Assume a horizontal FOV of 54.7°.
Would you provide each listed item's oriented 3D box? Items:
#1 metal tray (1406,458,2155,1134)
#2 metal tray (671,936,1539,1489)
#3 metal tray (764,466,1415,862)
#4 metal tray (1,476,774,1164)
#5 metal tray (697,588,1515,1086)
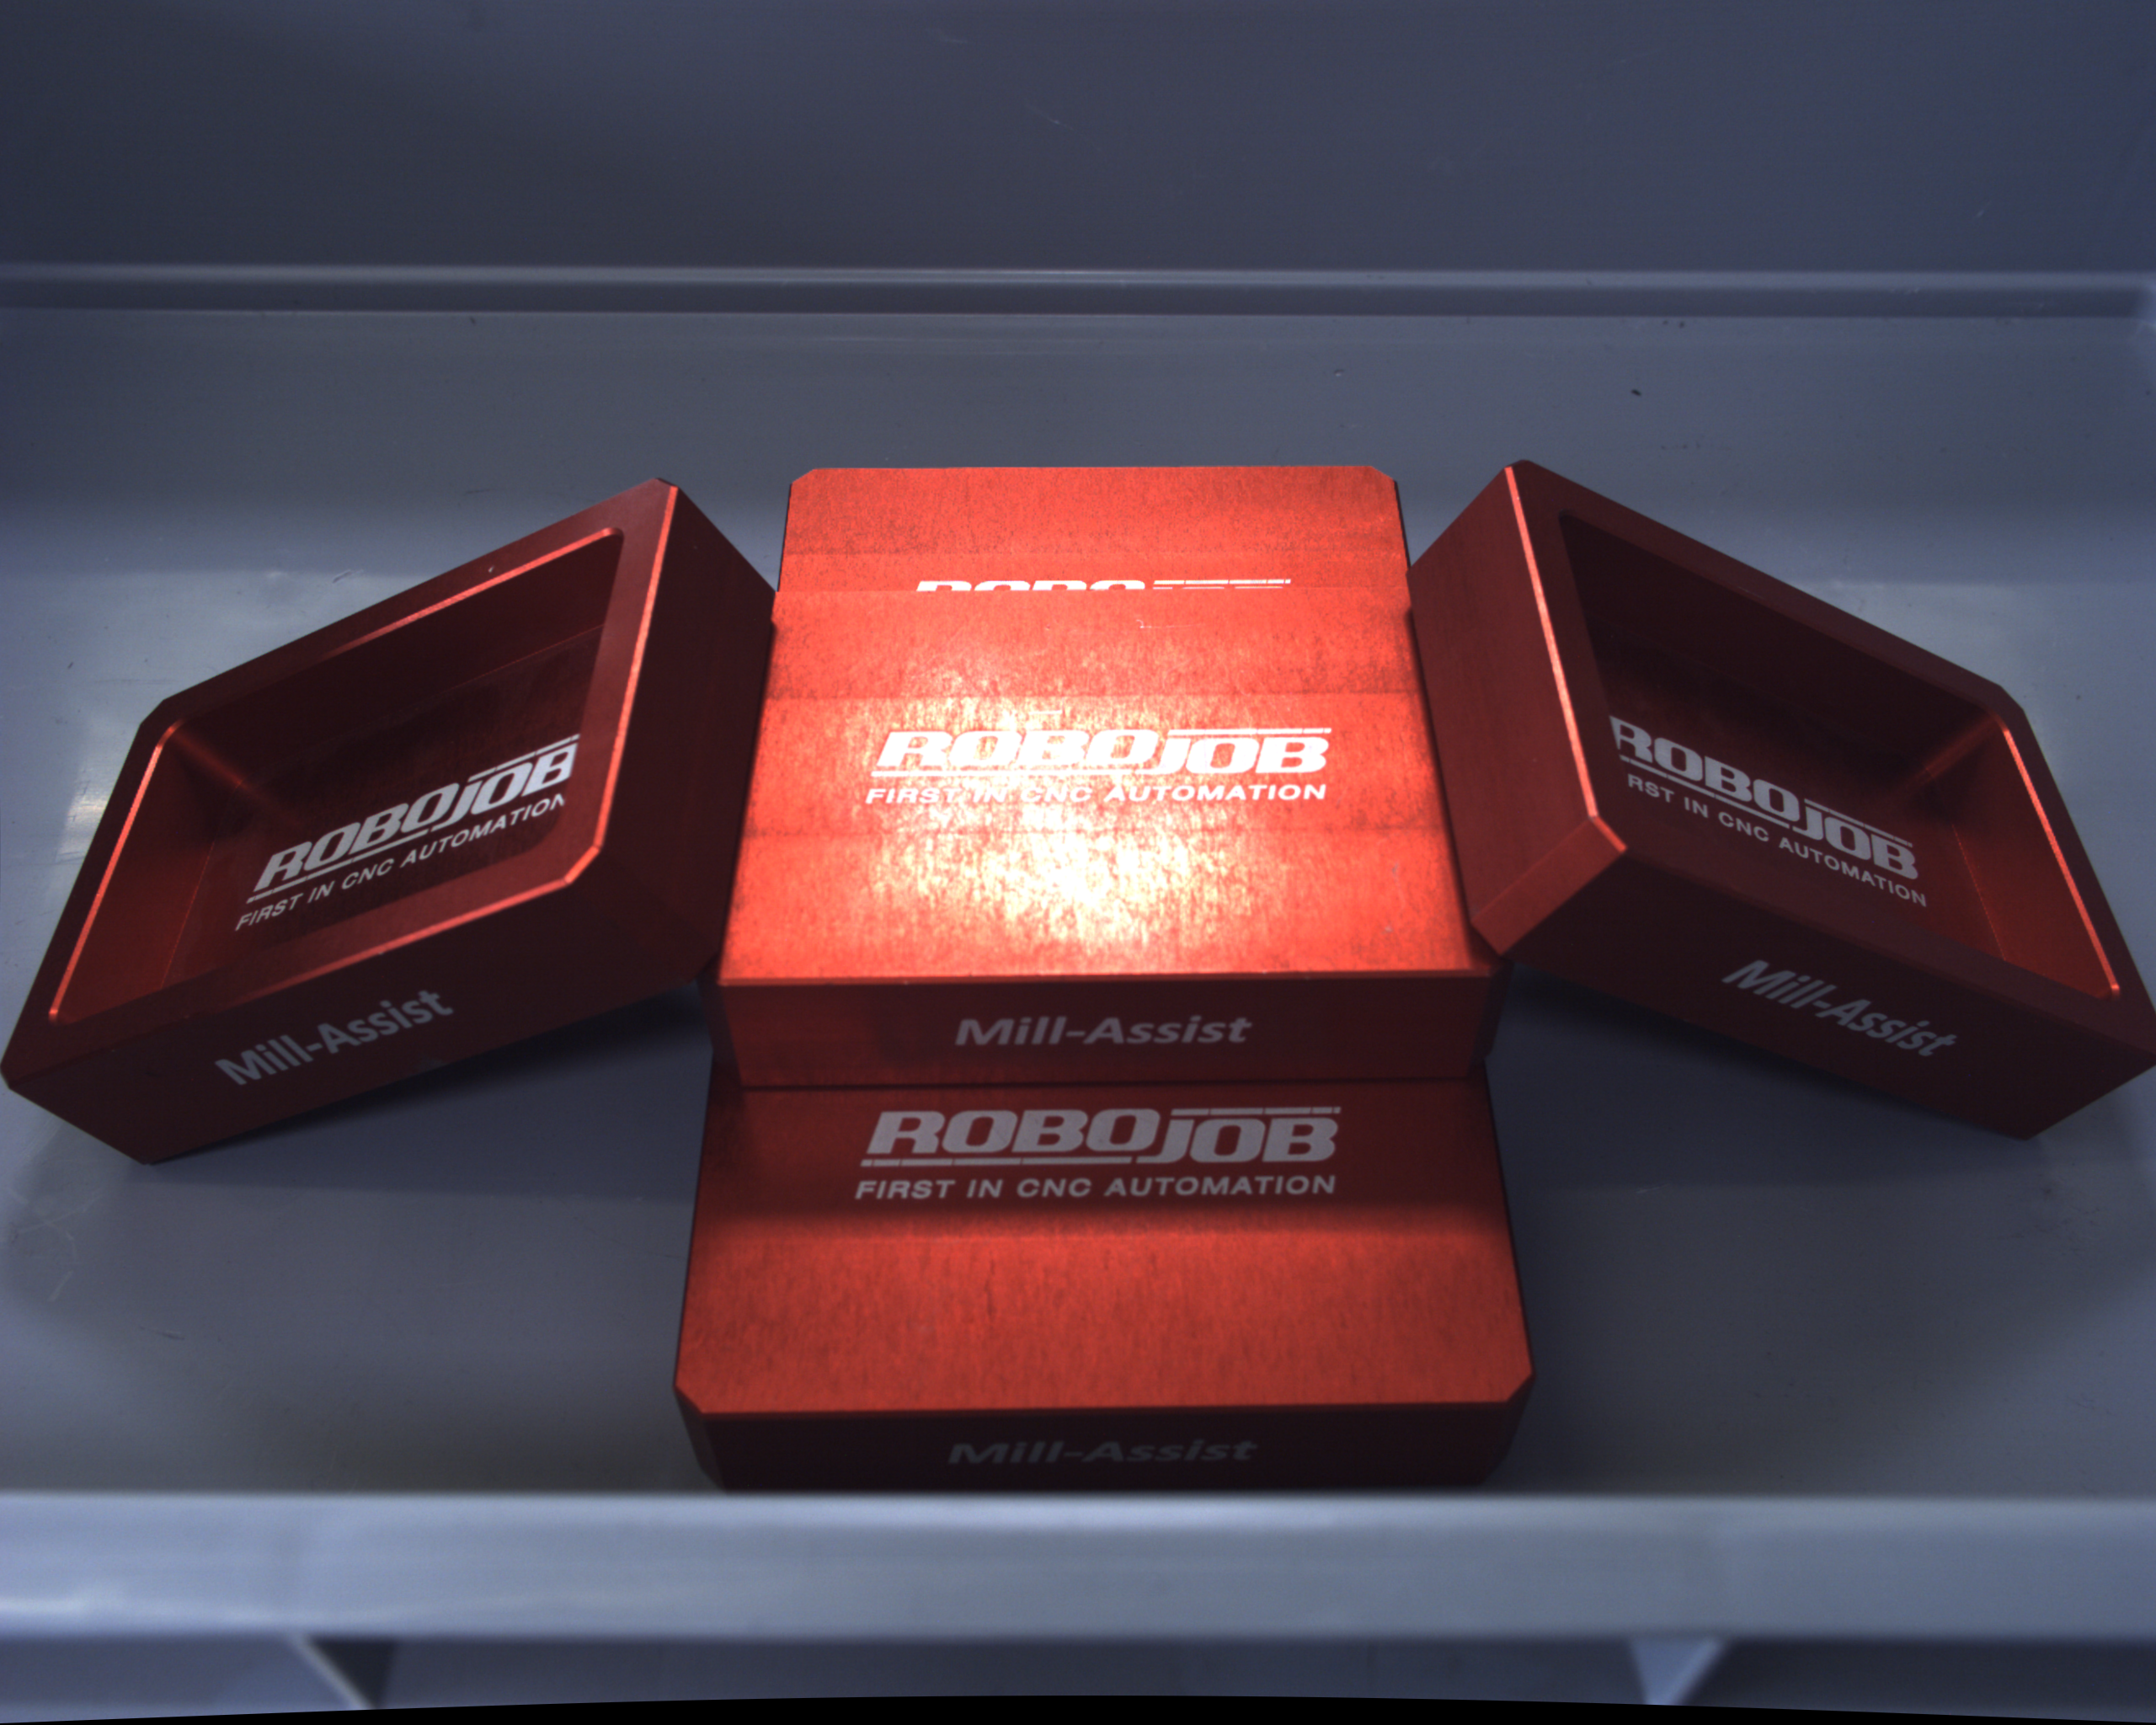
[{"bbox_3d":[0.125,-0.011,0.369,0.131,0.030,0.090,18,46,-23],"label":"metal tray"},{"bbox_3d":[0.004,0.056,0.351,0.131,0.030,0.090,0,50,-1],"label":"metal tray"},{"bbox_3d":[0.004,-0.043,0.434,0.131,0.030,0.090,0,50,-1],"label":"metal tray"},{"bbox_3d":[-0.119,-0.007,0.365,0.130,0.030,0.090,-18,47,23],"label":"metal tray"},{"bbox_3d":[0.004,-0.007,0.366,0.131,0.030,0.090,-1,50,-1],"label":"metal tray"}]
